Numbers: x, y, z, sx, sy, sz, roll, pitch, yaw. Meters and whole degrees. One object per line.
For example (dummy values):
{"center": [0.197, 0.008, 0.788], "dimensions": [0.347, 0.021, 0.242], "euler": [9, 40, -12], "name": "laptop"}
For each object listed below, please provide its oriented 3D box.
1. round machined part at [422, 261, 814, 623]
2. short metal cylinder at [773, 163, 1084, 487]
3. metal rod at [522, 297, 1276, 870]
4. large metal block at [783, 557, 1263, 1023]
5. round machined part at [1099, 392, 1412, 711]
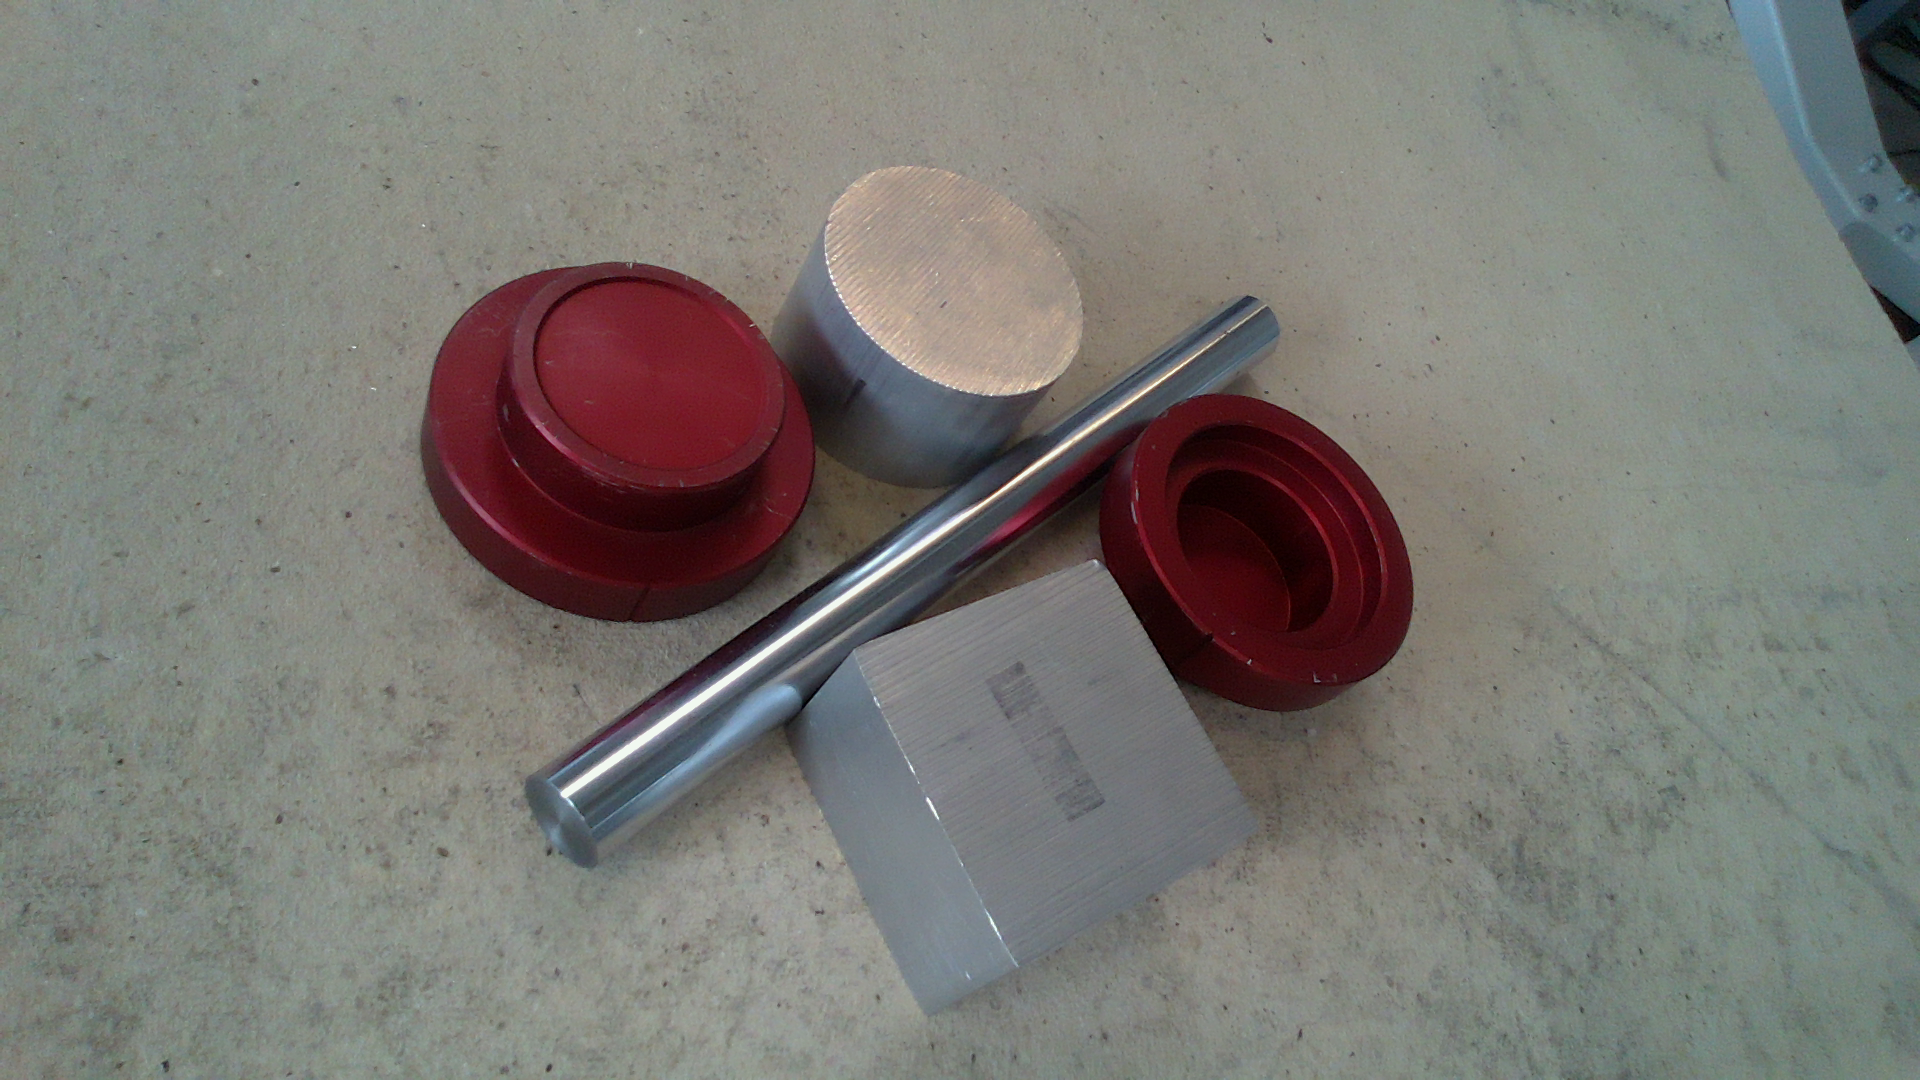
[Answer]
{"center": [-0.084, -0.032, 0.353], "dimensions": [0.098, 0.042, 0.098], "euler": [14, 56, -21], "name": "round machined part"}
{"center": [-0.011, -0.063, 0.406], "dimensions": [0.080, 0.050, 0.080], "euler": [14, 56, -21], "name": "short metal cylinder"}
{"center": [0.006, -0.006, 0.398], "dimensions": [0.025, 0.025, 0.301], "euler": [49, 51, 6], "name": "metal rod"}
{"center": [0.014, 0.060, 0.345], "dimensions": [0.080, 0.050, 0.080], "euler": [-19, 71, -35], "name": "large metal block"}
{"center": [0.085, 0.007, 0.420], "dimensions": [0.098, 0.042, 0.098], "euler": [14, 56, -21], "name": "round machined part"}
